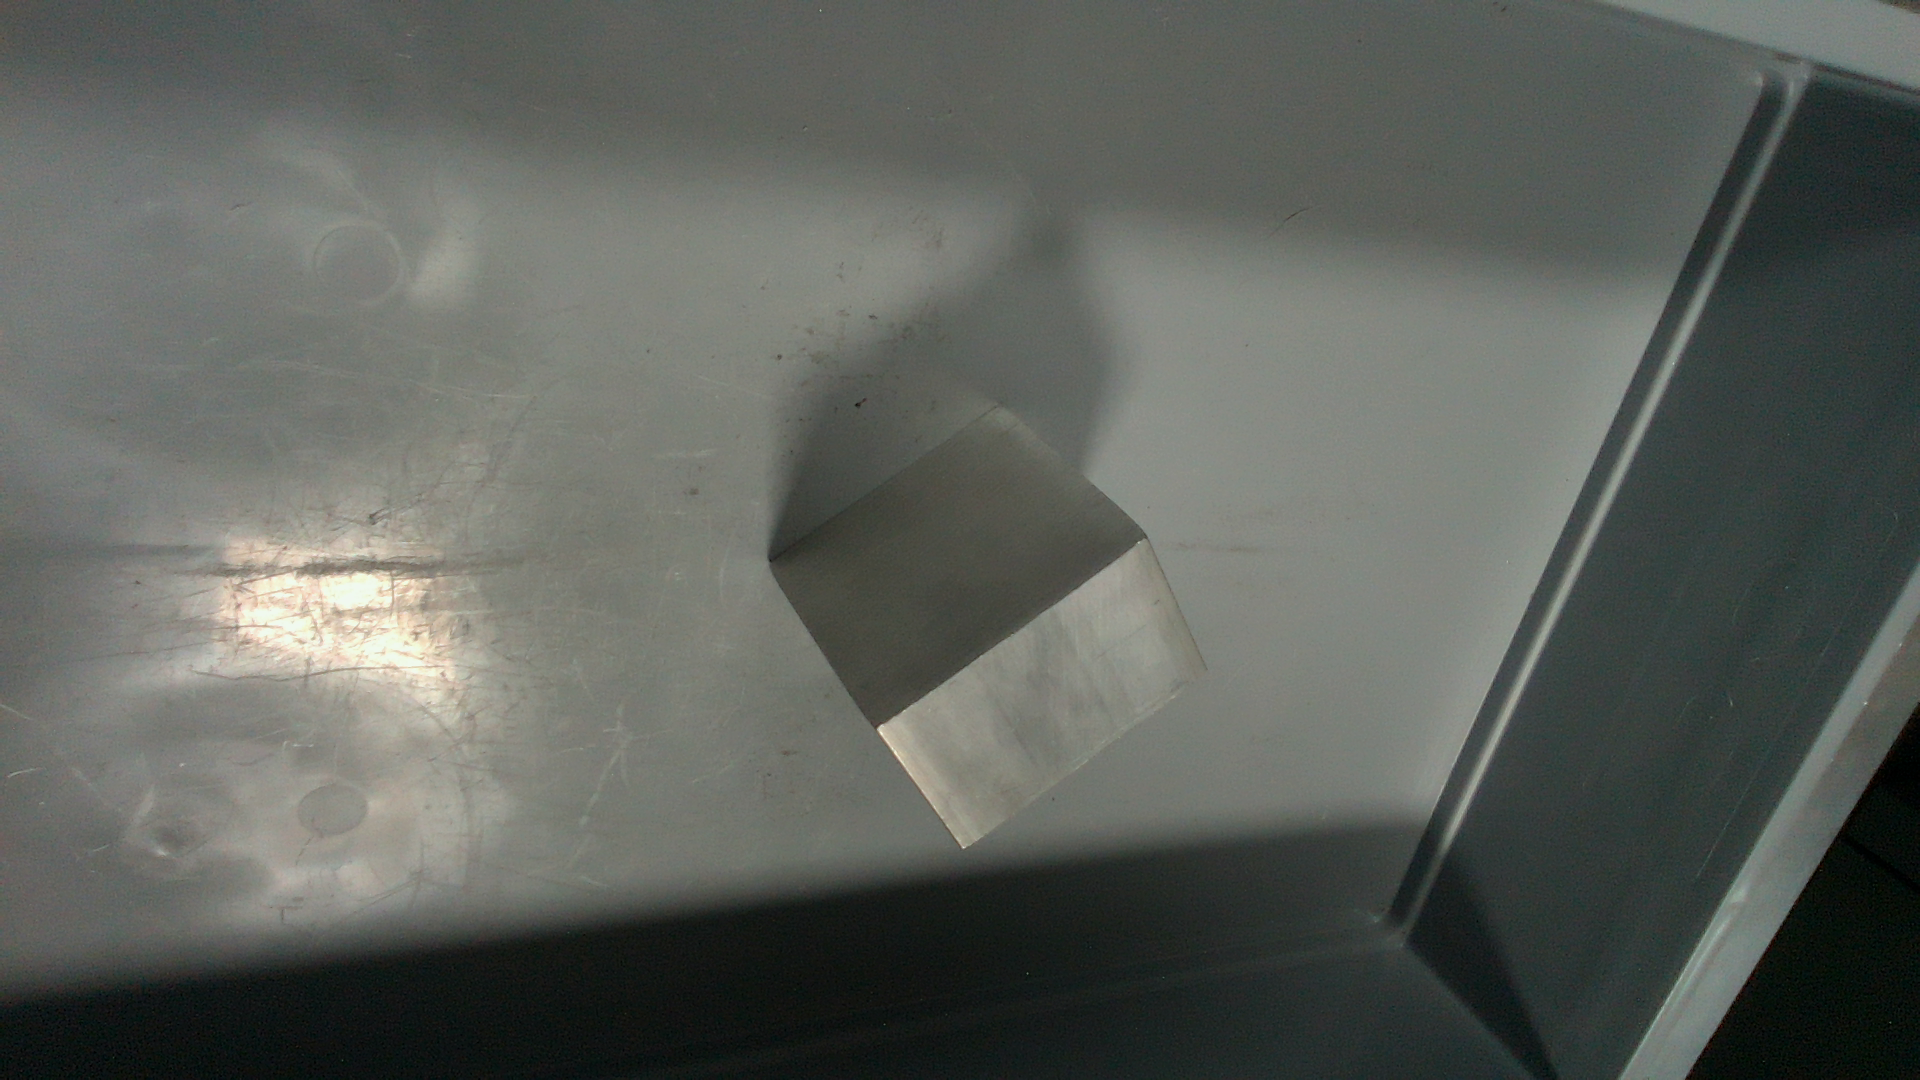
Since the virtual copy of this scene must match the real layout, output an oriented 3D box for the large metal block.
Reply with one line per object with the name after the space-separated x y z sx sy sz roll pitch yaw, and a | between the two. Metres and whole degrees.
0.007 0.020 0.366 0.080 0.080 0.050 -34 129 -5 | large metal block
